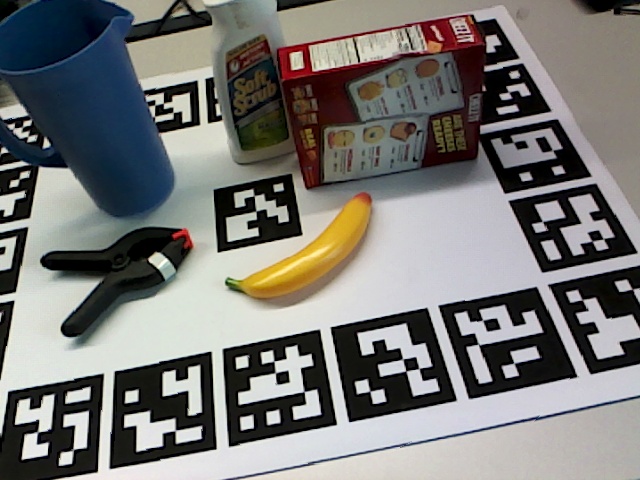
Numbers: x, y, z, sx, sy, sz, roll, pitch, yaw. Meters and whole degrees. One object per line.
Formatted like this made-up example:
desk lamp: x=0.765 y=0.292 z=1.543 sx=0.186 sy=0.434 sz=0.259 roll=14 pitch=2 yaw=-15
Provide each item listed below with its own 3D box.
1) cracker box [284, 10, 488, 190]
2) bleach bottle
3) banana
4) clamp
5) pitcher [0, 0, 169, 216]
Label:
cracker box: x=0.078 y=-0.158 z=0.717 sx=0.214 sy=0.163 sz=0.072 roll=-12 pitch=47 yaw=3
bleach bottle: x=-0.089 y=-0.198 z=0.747 sx=0.102 sy=0.249 sz=0.068 roll=-13 pitch=49 yaw=1
banana: x=0.002 y=0.011 z=0.703 sx=0.197 sy=0.038 sz=0.075 roll=-40 pitch=54 yaw=-21
clamp: x=-0.218 y=0.035 z=0.716 sx=0.165 sy=0.036 sz=0.122 roll=-24 pitch=49 yaw=-12
pitcher: x=-0.268 y=-0.139 z=0.708 sx=0.188 sy=0.241 sz=0.134 roll=-26 pitch=50 yaw=-14
